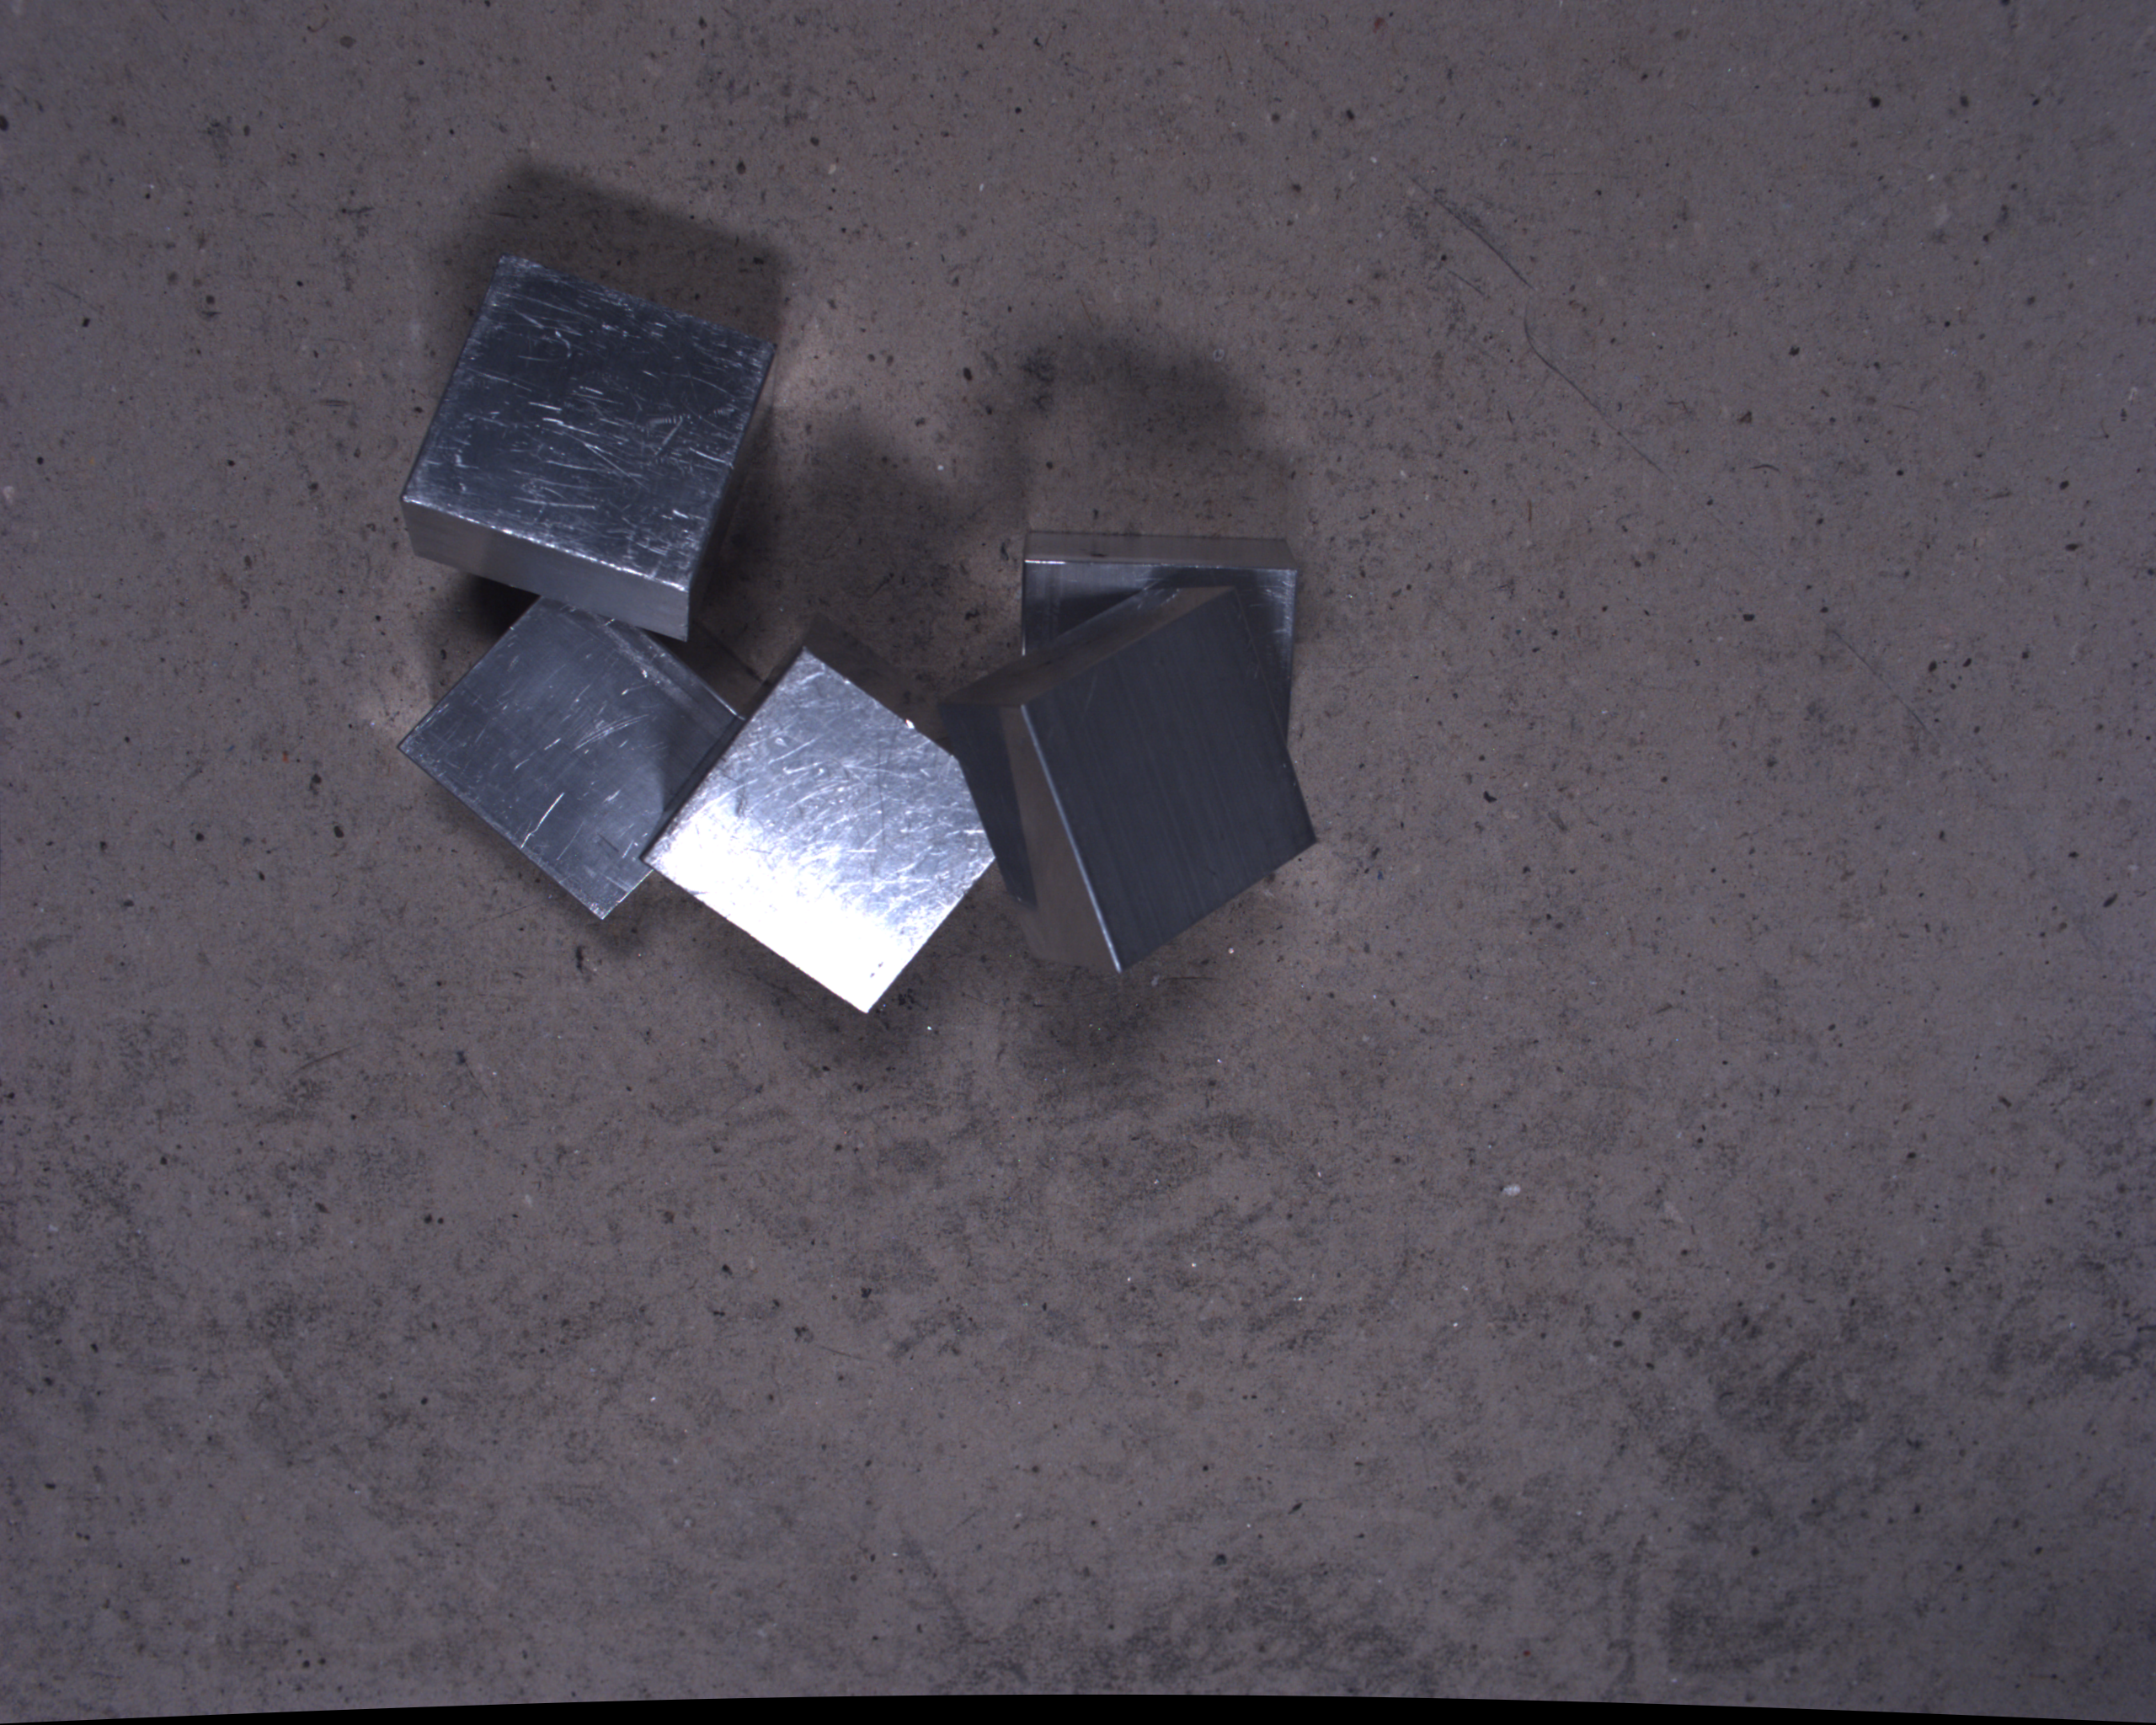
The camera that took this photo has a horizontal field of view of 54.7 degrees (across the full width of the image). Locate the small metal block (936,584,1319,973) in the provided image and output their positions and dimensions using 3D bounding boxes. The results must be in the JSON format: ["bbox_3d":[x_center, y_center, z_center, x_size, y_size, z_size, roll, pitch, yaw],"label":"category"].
[{"bbox_3d":[0.010,-0.016,0.365,0.050,0.025,0.050,-32,113,-31],"label":"small metal block"}]

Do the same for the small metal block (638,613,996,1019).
[{"bbox_3d":[-0.043,-0.008,0.379,0.050,0.025,0.050,36,106,-13],"label":"small metal block"}]

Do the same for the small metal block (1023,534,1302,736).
[{"bbox_3d":[0.015,-0.035,0.398,0.050,0.025,0.050,2,110,-1],"label":"small metal block"}]

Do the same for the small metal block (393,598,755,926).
[{"bbox_3d":[-0.092,-0.025,0.400,0.050,0.025,0.050,-43,105,14],"label":"small metal block"}]

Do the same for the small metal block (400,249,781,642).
[{"bbox_3d":[-0.085,-0.073,0.370,0.050,0.025,0.050,18,72,-7],"label":"small metal block"}]
